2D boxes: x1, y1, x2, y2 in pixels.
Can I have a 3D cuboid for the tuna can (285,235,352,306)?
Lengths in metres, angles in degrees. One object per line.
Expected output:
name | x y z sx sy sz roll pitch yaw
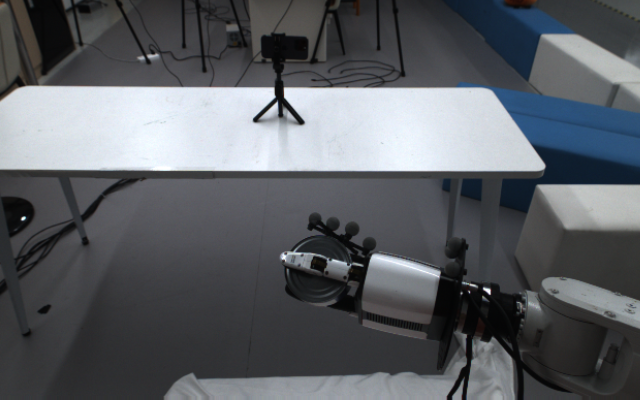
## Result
tuna can | 0.002 0.088 0.609 0.085 0.034 0.085 -4 67 10
